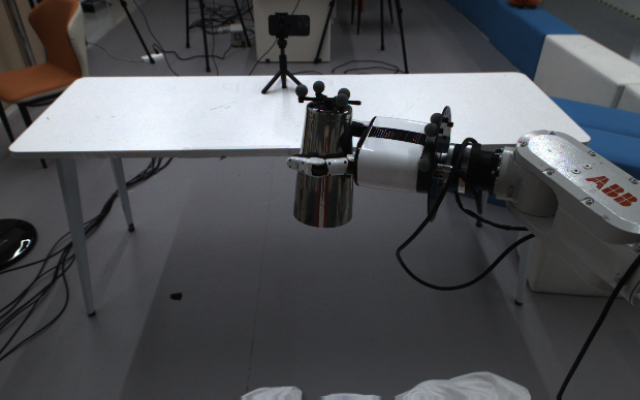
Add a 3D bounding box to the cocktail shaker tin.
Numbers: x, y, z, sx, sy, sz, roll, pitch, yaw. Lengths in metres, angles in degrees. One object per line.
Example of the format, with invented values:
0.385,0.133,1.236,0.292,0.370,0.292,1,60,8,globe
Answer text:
0.009,-0.056,0.716,0.093,0.170,0.093,2,26,-1,cocktail shaker tin
